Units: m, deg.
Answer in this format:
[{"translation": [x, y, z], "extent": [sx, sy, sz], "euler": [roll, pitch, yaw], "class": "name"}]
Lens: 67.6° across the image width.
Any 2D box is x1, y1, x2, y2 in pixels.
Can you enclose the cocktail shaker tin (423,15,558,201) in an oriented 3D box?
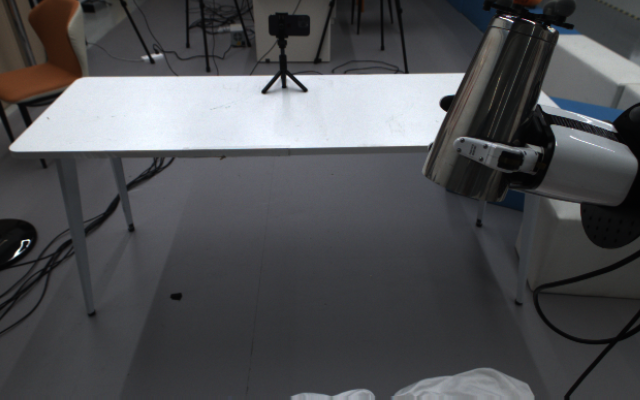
[{"translation": [0.180, -0.095, 0.502], "extent": [0.093, 0.170, 0.093], "euler": [14, 20, -5], "class": "cocktail shaker tin"}]
